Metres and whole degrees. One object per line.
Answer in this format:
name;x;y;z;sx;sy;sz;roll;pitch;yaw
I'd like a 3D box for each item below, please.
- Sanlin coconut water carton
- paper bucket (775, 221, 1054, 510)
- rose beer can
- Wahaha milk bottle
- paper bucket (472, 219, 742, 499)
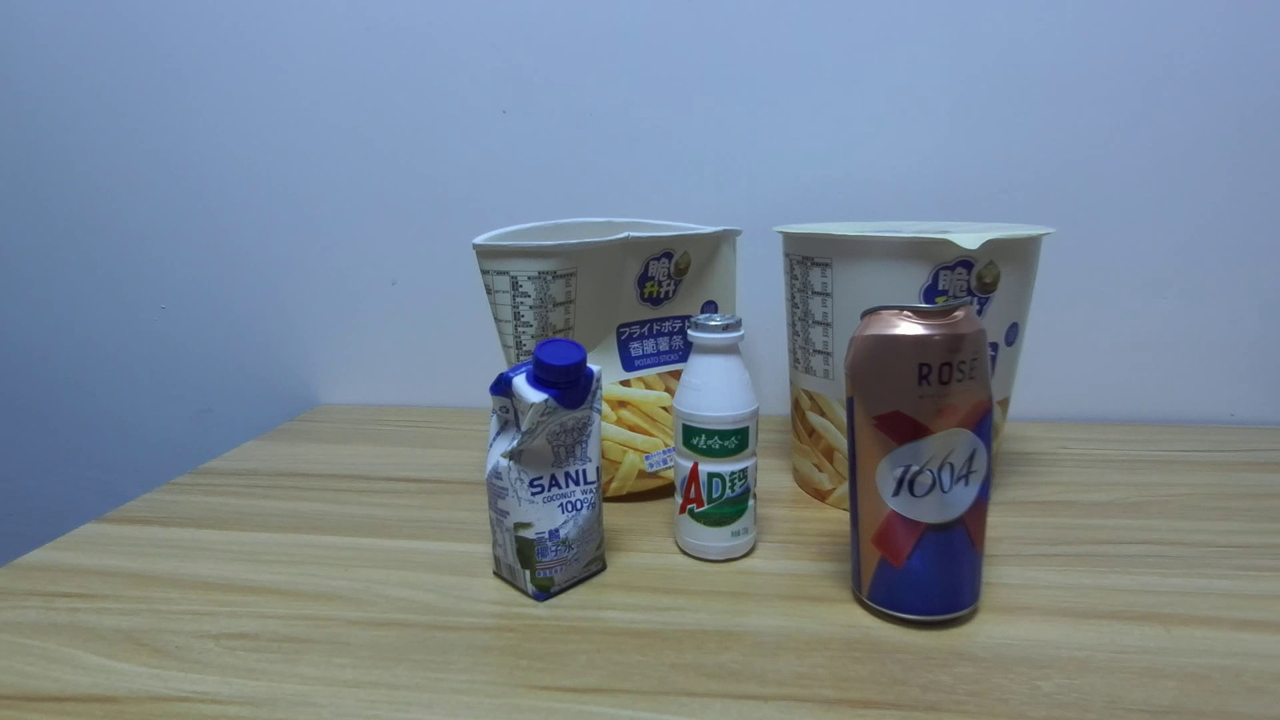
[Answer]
Sanlin coconut water carton;-0.056;0.058;0.405;0.061;0.143;0.069;-14;19;-42
paper bucket;0.195;-0.002;0.531;0.198;0.194;0.198;-2;15;1
rose beer can;0.148;0.052;0.373;0.069;0.168;0.069;2;11;24
Wahaha milk bottle;0.047;0.047;0.433;0.053;0.147;0.053;0;14;0
paper bucket;-0.010;-0.008;0.559;0.147;0.199;0.218;5;15;22
